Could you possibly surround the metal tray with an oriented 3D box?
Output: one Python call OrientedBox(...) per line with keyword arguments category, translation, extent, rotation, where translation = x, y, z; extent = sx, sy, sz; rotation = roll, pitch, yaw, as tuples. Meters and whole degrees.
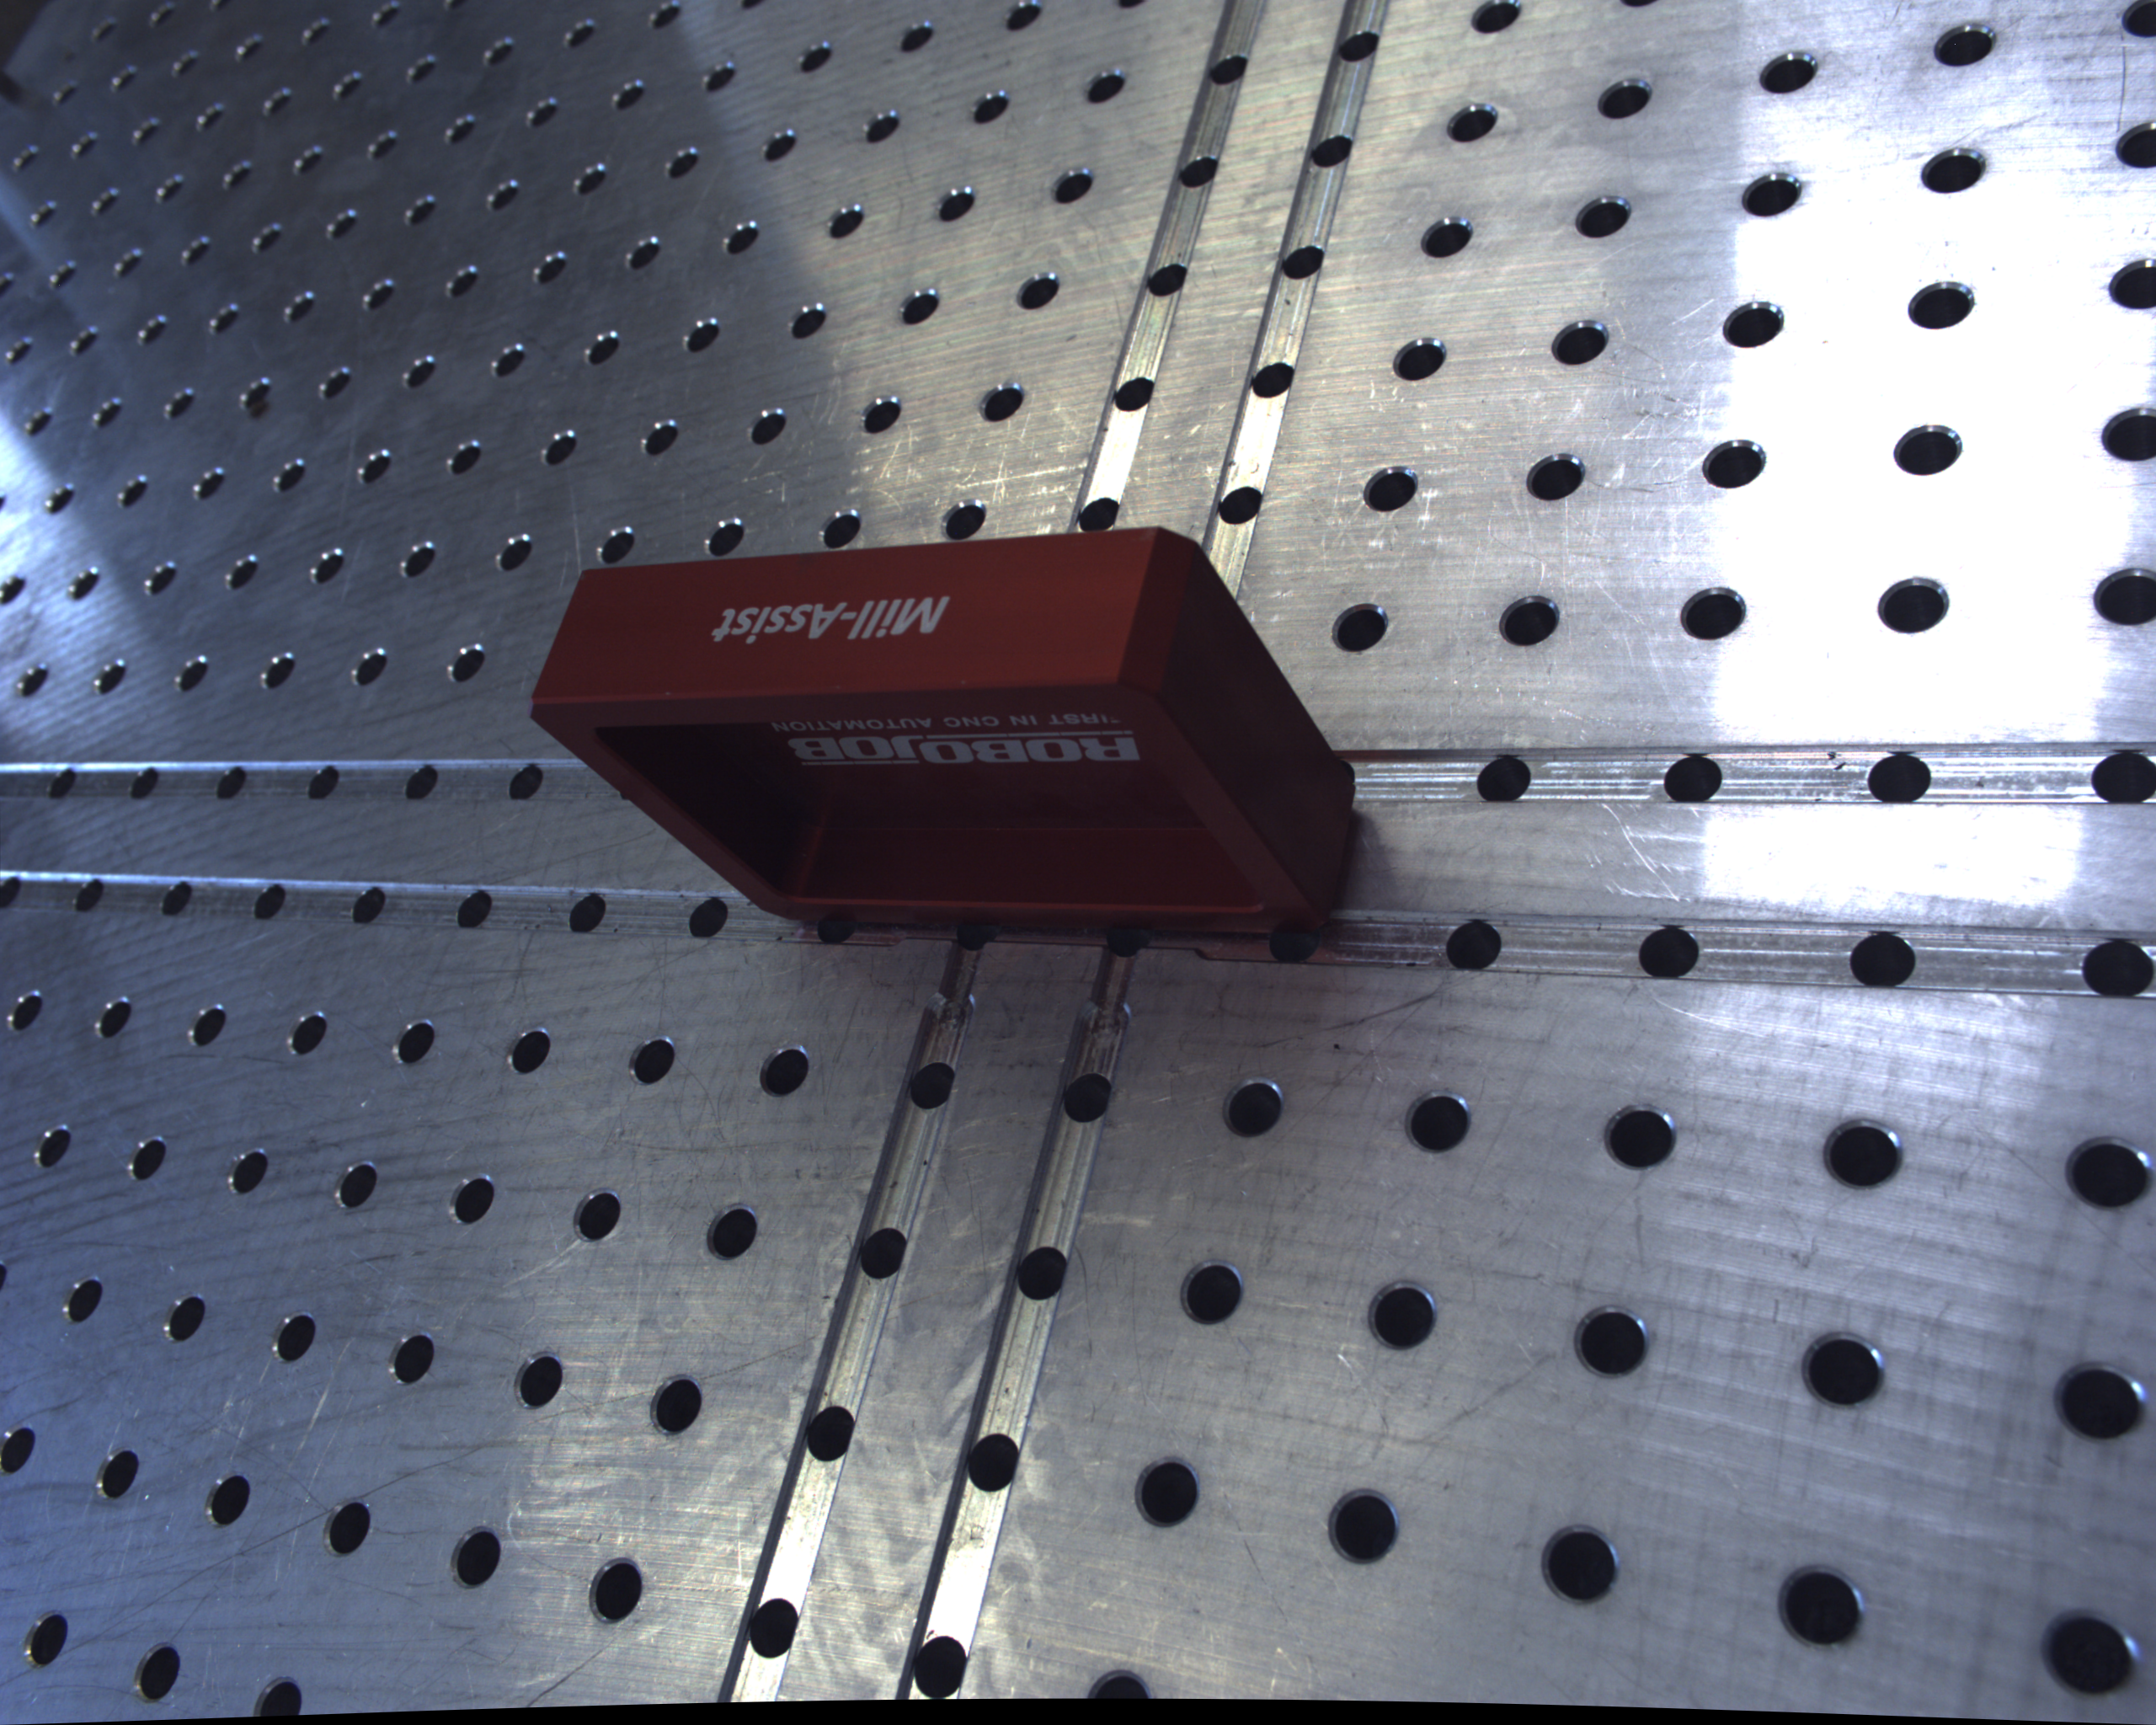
OrientedBox(category="metal tray", translation=(-0.024, -0.021, 0.393), extent=(0.130, 0.090, 0.030), rotation=(0, 62, 28))
